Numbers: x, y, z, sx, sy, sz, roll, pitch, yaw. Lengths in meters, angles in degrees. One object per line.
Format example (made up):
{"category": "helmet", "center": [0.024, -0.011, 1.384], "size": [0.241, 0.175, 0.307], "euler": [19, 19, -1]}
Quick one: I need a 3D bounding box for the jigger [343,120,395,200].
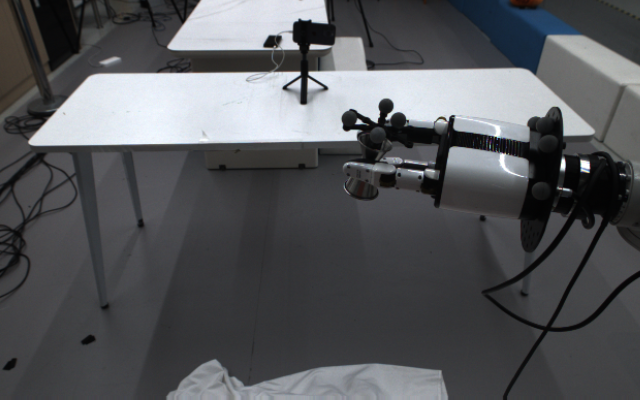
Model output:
{"category": "jigger", "center": [0.053, -0.041, 0.570], "size": [0.043, 0.071, 0.043], "euler": [10, 35, -7]}
